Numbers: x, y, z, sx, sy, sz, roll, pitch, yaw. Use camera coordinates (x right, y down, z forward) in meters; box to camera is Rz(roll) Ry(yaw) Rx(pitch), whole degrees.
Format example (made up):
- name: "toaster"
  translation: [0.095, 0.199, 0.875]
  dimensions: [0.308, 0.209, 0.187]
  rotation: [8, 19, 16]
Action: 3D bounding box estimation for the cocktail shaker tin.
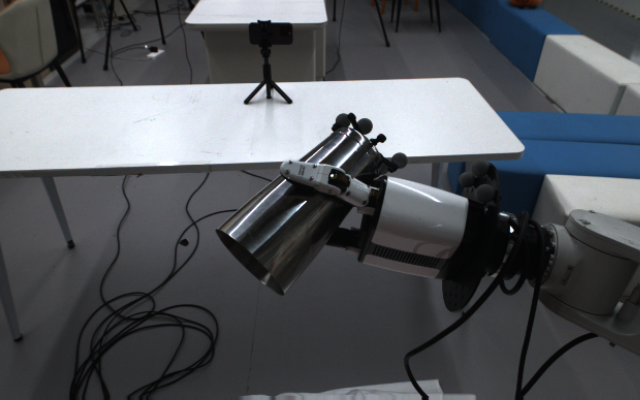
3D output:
- name: "cocktail shaker tin"
  translation: [-0.012, -0.001, 0.497]
  dimensions: [0.093, 0.093, 0.170]
  rotation: [32, 65, 35]
